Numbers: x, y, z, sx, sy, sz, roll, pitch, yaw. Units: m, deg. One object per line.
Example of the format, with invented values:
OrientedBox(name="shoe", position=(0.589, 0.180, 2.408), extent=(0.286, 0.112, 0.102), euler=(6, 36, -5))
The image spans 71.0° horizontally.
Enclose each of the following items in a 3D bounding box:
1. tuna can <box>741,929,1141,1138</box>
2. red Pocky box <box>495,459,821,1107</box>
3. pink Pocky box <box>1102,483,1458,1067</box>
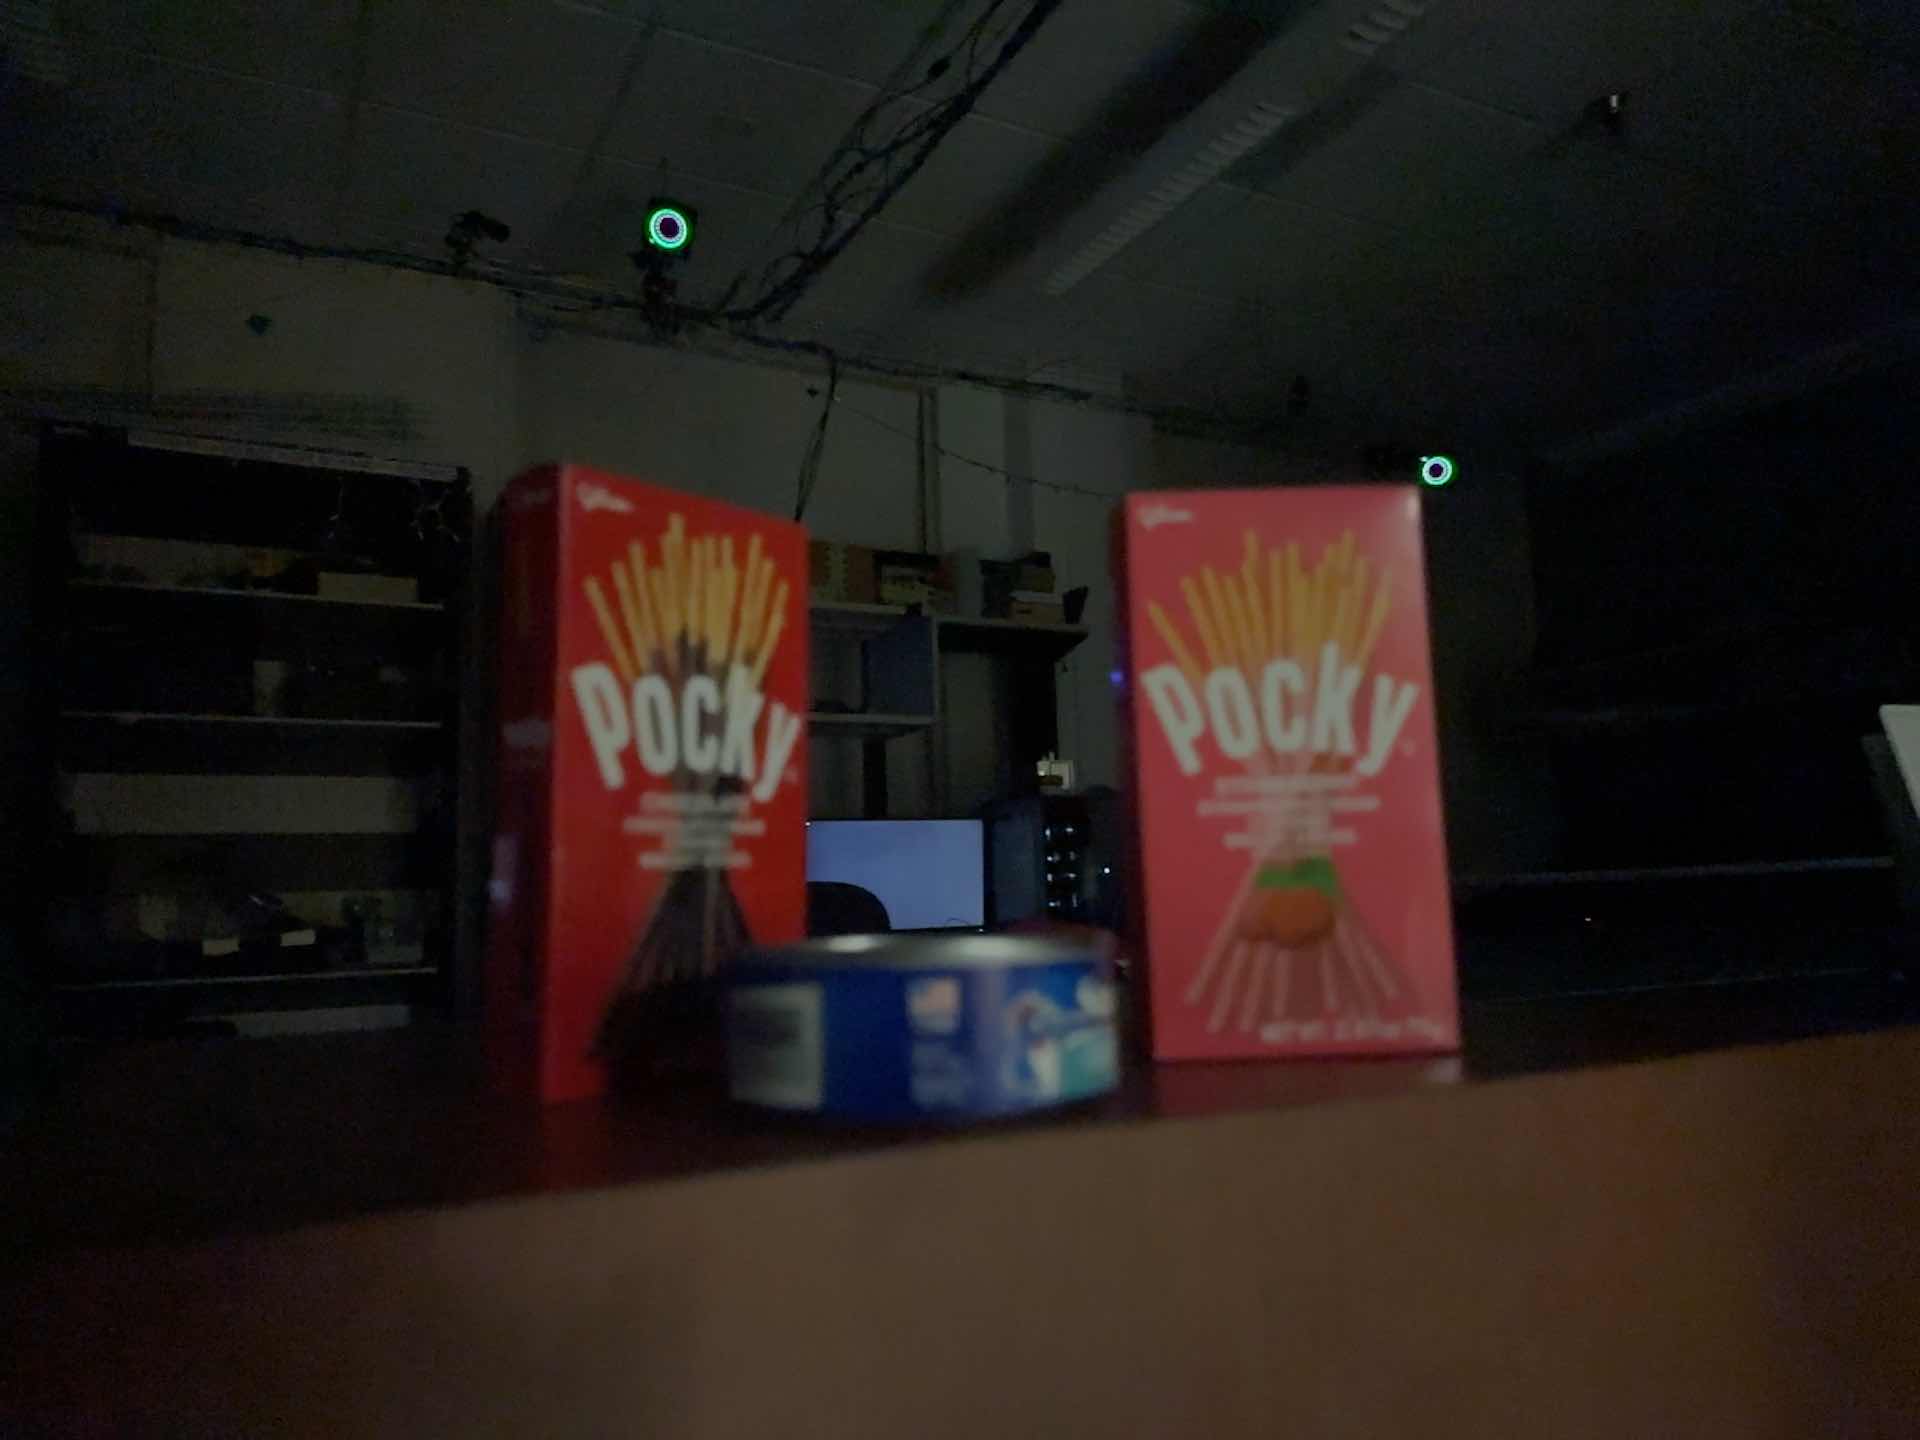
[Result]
OrientedBox(name="tuna can", position=(-0.004, 0.064, 0.288), extent=(0.083, 0.034, 0.083), euler=(-2, -6, 0))
OrientedBox(name="red Pocky box", position=(-0.075, 0.016, 0.348), extent=(0.083, 0.155, 0.028), euler=(5, -8, -43))
OrientedBox(name="pink Pocky box", position=(0.086, 0.013, 0.369), extent=(0.084, 0.155, 0.029), euler=(-2, -5, -5))
